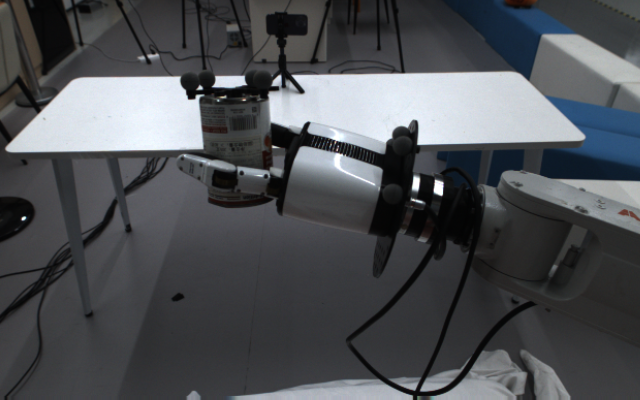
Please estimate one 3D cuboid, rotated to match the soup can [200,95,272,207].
[{"bbox_3d":[-0.078,-0.048,0.473,0.067,0.101,0.067,-1,17,0],"label":"soup can"}]
